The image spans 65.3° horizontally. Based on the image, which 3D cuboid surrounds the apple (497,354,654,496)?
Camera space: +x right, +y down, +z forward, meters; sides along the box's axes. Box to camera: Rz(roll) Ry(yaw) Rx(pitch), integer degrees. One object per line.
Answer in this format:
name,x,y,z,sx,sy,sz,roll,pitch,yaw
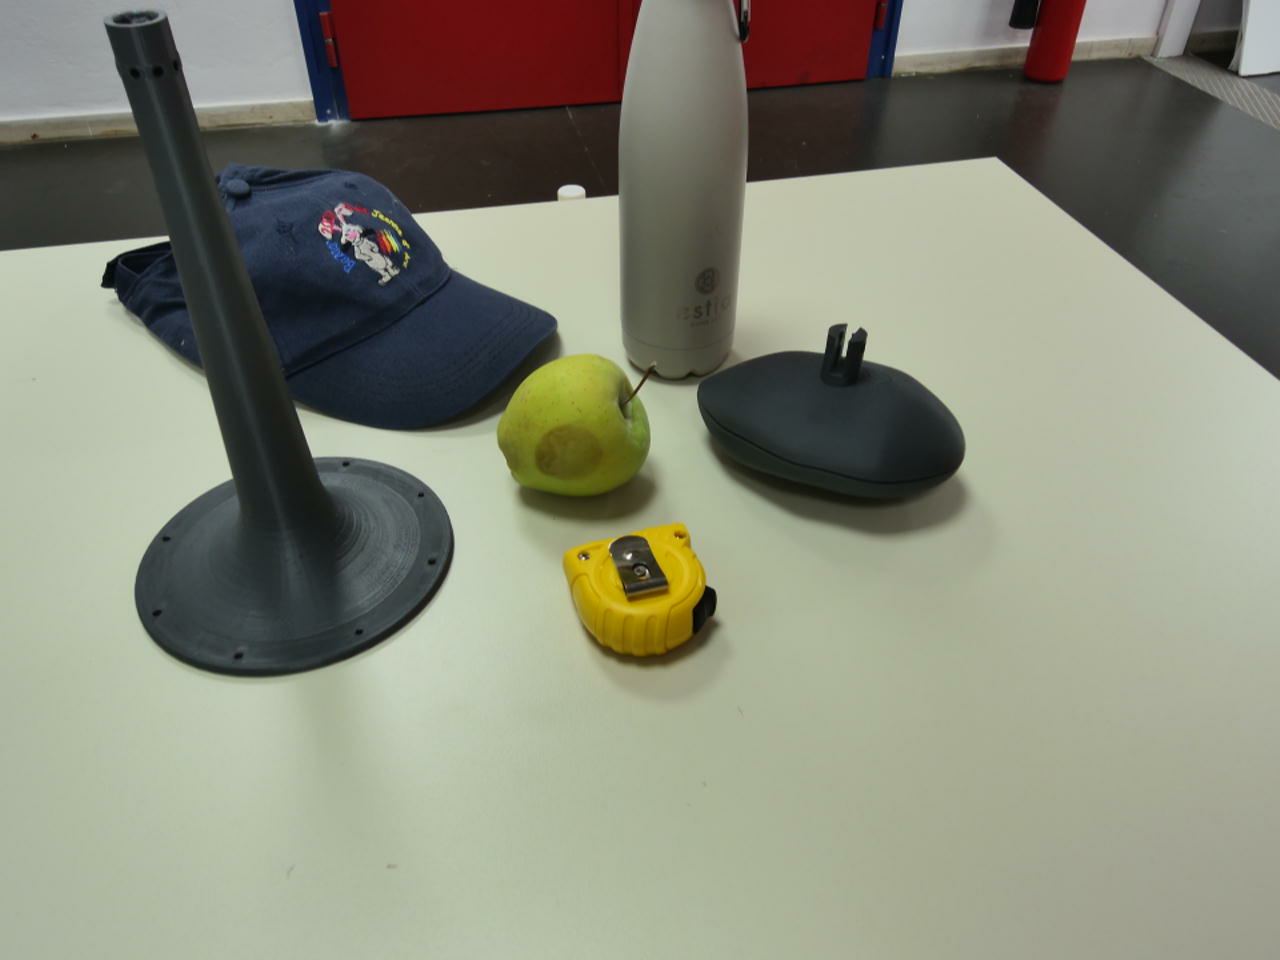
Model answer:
apple,-0.033,-0.030,0.522,0.077,0.075,0.072,22,43,24
